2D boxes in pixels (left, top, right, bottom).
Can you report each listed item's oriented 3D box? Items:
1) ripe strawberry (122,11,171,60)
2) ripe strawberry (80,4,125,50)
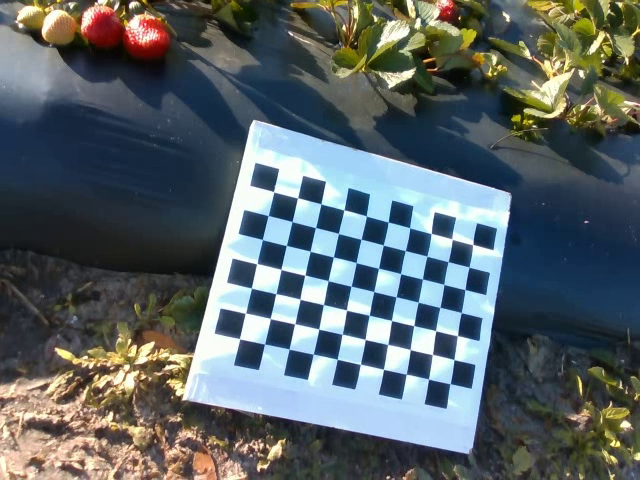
[{"bbox_3d":[-0.171,-0.207,0.622,0.056,0.052,0.067,-38,39,-16],"label":"ripe strawberry"},{"bbox_3d":[-0.224,-0.217,0.615,0.050,0.044,0.061,38,30,-9],"label":"ripe strawberry"}]
